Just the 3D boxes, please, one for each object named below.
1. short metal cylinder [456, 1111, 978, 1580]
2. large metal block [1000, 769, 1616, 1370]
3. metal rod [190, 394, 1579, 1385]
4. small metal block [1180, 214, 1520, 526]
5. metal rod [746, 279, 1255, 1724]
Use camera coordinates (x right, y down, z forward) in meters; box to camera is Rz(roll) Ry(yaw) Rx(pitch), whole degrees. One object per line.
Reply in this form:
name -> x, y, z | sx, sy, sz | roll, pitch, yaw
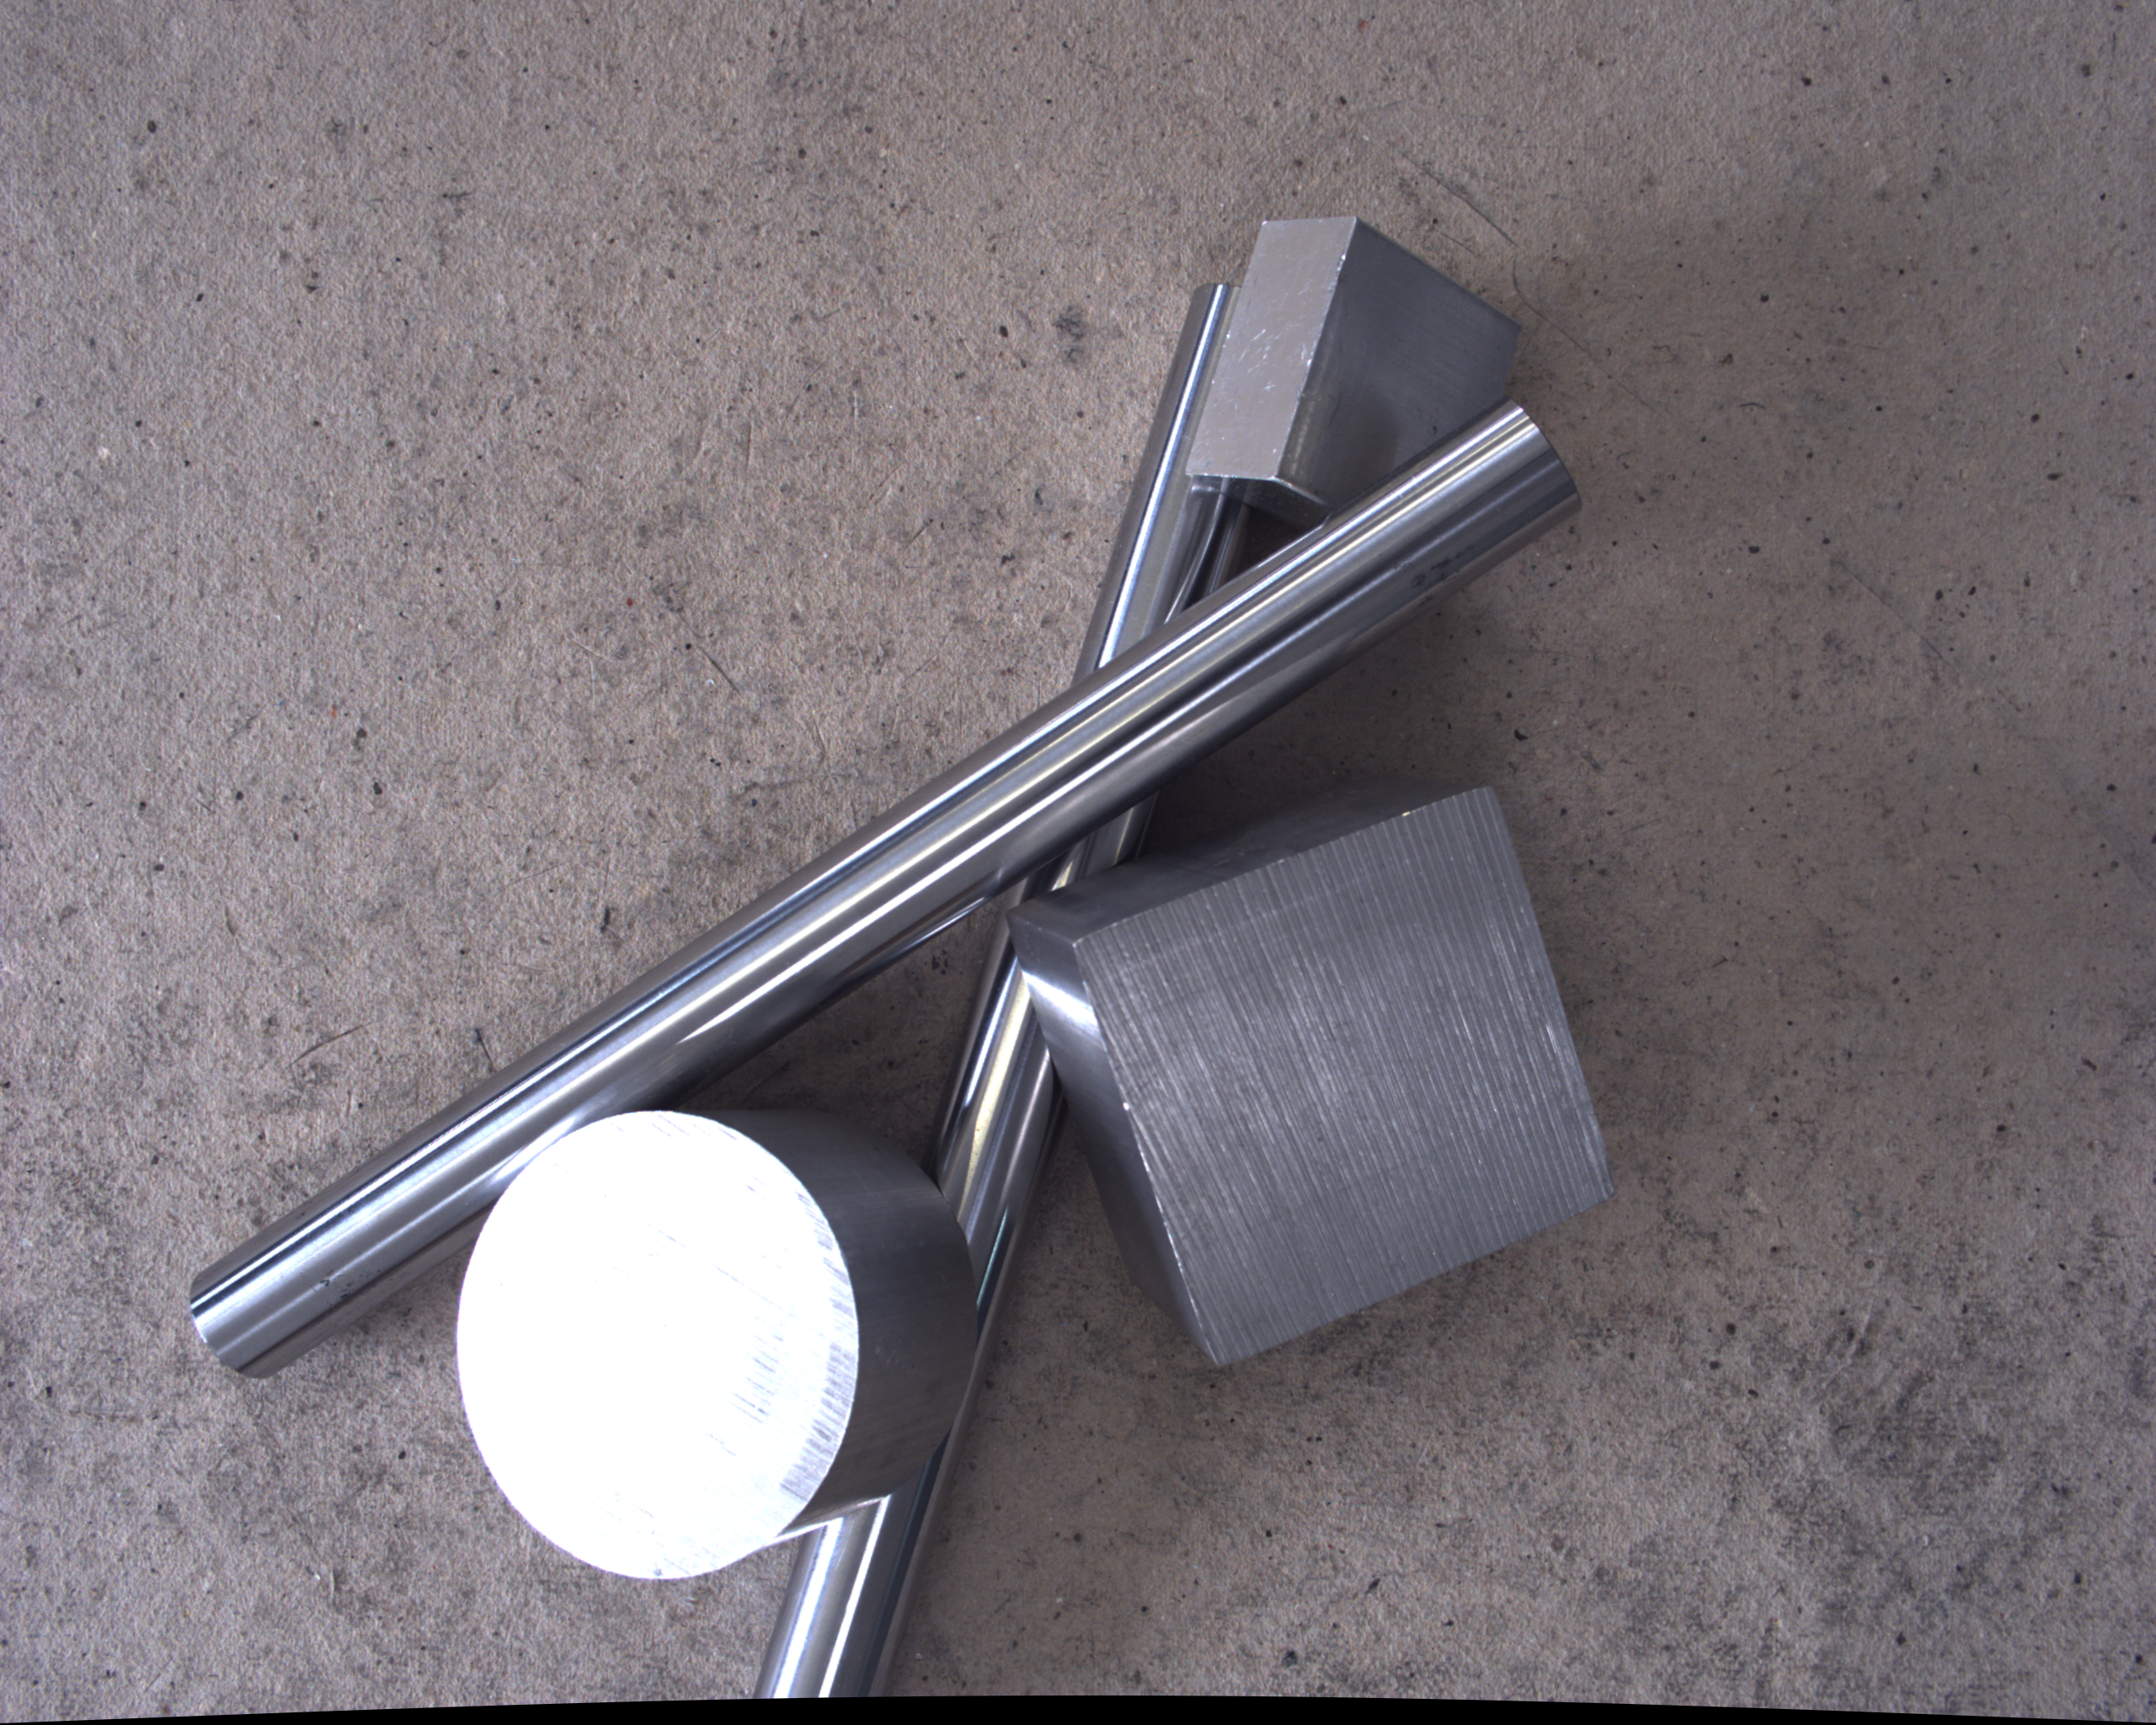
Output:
short metal cylinder -> -0.065, 0.086, 0.385 | 0.080, 0.050, 0.080 | -2, 83, 20
large metal block -> 0.041, 0.034, 0.384 | 0.081, 0.050, 0.080 | -20, 99, -13
metal rod -> -0.041, 0.009, 0.393 | 0.300, 0.025, 0.025 | -34, 90, 6
small metal block -> 0.053, -0.089, 0.399 | 0.050, 0.025, 0.050 | 17, 90, -40
metal rod -> -0.010, 0.033, 0.410 | 0.025, 0.025, 0.298 | 17, 90, 0
